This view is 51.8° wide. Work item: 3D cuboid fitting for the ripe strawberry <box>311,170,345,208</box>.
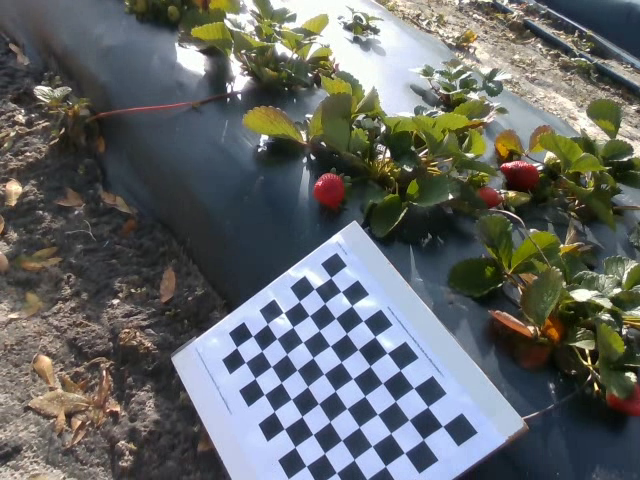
[{"bbox_3d":[0.007,-0.054,0.677,0.041,0.041,0.047,14,13,38],"label":"ripe strawberry"}]
